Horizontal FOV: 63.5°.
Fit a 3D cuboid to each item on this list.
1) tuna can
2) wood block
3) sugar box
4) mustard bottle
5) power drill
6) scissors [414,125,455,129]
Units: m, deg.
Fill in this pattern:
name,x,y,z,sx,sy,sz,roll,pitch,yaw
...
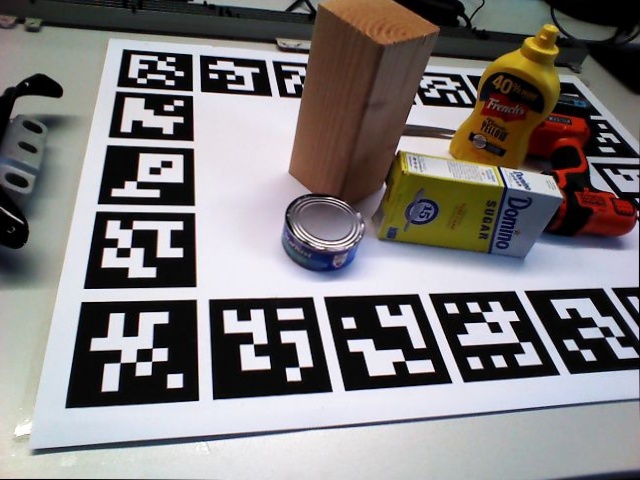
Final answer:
name,x,y,z,sx,sy,sz,roll,pitch,yaw
tuna can,0.007,-0.011,0.540,0.086,0.034,0.085,7,49,-8
wood block,0.043,-0.140,0.563,0.090,0.207,0.090,-25,60,-30
sugar box,0.171,-0.033,0.564,0.176,0.093,0.045,10,45,-6
mustard bottle,0.250,-0.165,0.640,0.096,0.192,0.058,38,53,19
power drill,0.294,-0.089,0.662,0.185,0.058,0.186,10,55,-4
scissors,0.092,-0.160,0.706,0.203,0.016,0.087,1,45,-11
